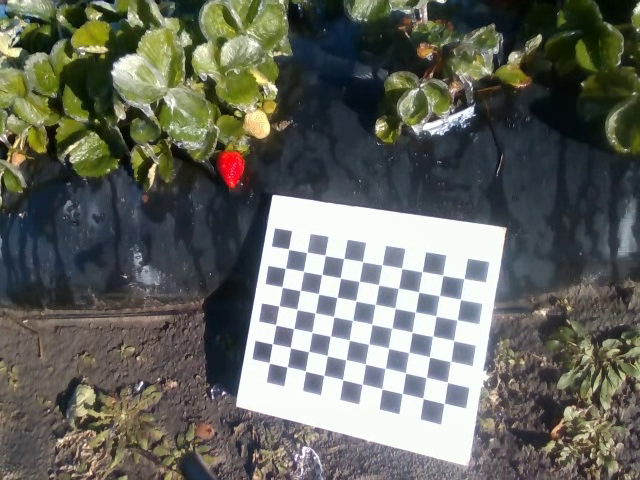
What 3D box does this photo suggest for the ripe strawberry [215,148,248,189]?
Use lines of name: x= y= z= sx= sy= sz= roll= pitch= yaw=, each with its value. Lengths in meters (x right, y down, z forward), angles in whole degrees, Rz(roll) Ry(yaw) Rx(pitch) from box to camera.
ripe strawberry: x=-0.119 y=-0.092 z=0.757 sx=0.041 sy=0.052 sz=0.040 roll=-9 pitch=-15 yaw=12
